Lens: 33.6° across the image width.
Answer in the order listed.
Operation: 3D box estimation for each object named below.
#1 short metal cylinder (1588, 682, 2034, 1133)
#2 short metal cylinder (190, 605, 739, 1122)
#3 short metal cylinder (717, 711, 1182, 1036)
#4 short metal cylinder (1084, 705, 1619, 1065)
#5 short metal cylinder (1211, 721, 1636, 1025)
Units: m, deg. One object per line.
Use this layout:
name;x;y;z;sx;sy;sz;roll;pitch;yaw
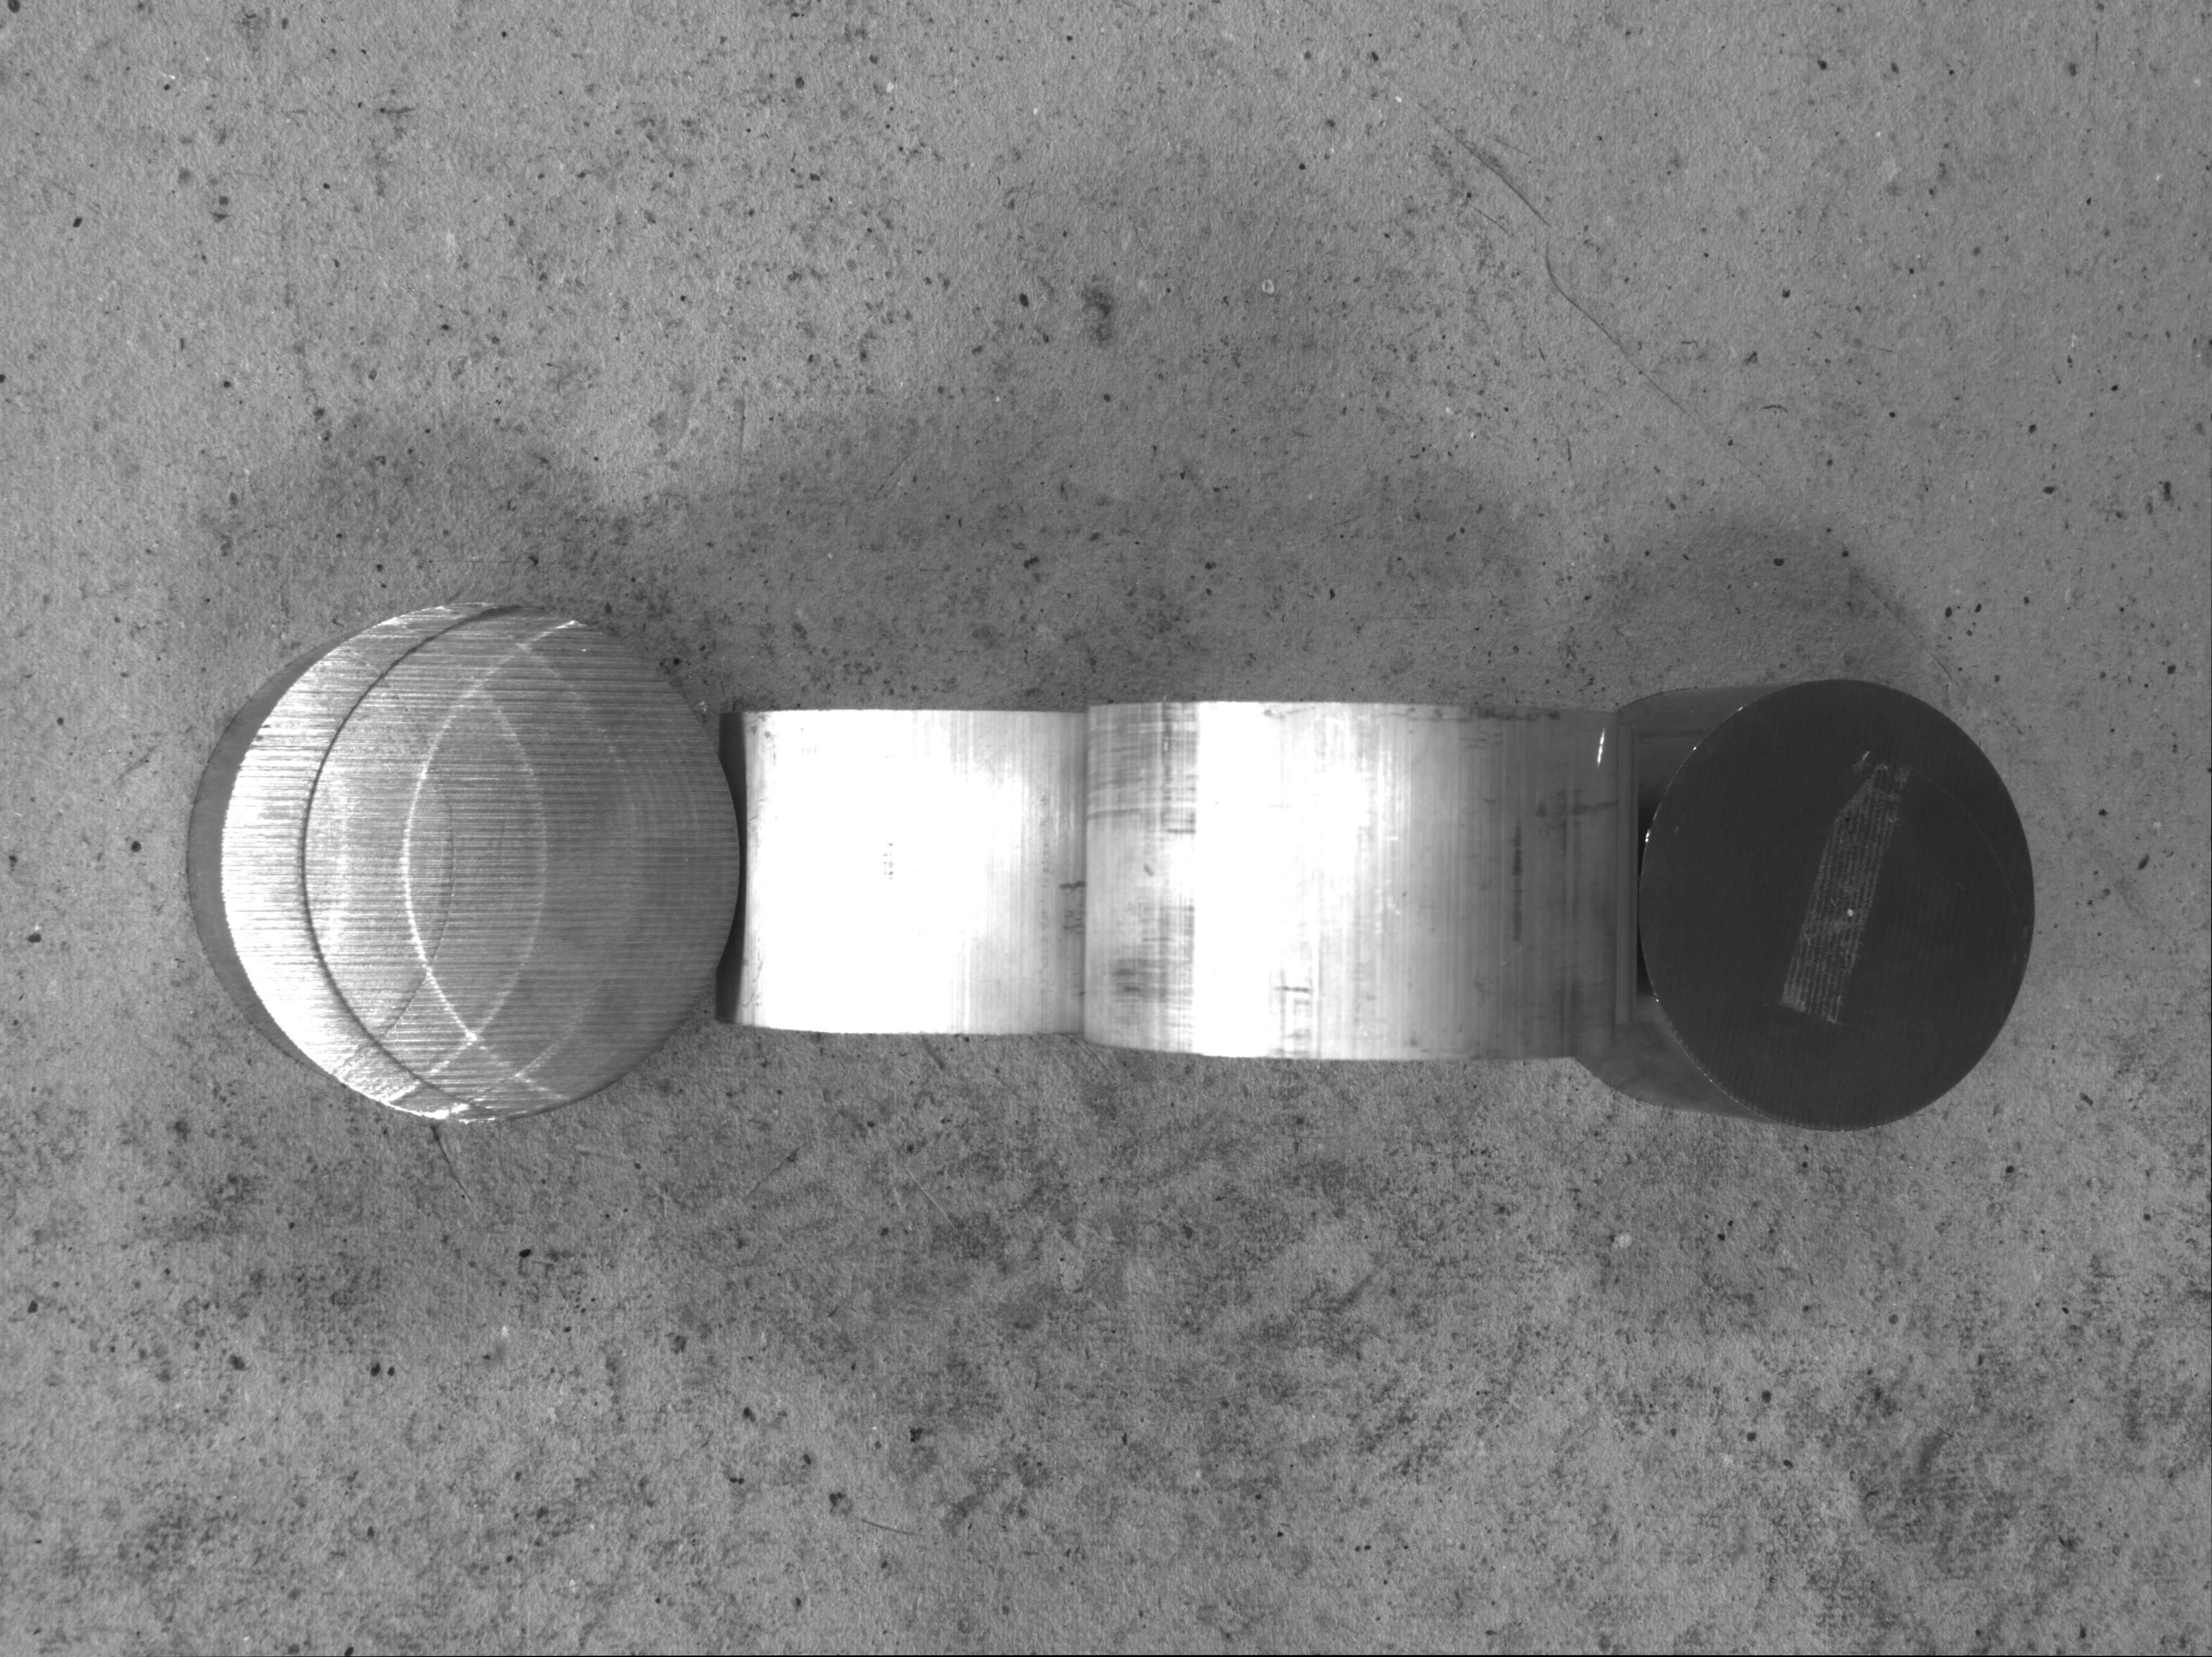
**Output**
short metal cylinder;0.122;0.014;0.673;0.080;0.050;0.080;0;90;-20
short metal cylinder;-0.104;0.005;0.592;0.080;0.050;0.080;0;90;-20
short metal cylinder;-0.024;0.007;0.605;0.080;0.080;0.050;0;90;-20
short metal cylinder;0.037;0.008;0.554;0.080;0.080;0.050;1;91;-20
short metal cylinder;0.051;0.008;0.633;0.080;0.080;0.050;0;89;-20
